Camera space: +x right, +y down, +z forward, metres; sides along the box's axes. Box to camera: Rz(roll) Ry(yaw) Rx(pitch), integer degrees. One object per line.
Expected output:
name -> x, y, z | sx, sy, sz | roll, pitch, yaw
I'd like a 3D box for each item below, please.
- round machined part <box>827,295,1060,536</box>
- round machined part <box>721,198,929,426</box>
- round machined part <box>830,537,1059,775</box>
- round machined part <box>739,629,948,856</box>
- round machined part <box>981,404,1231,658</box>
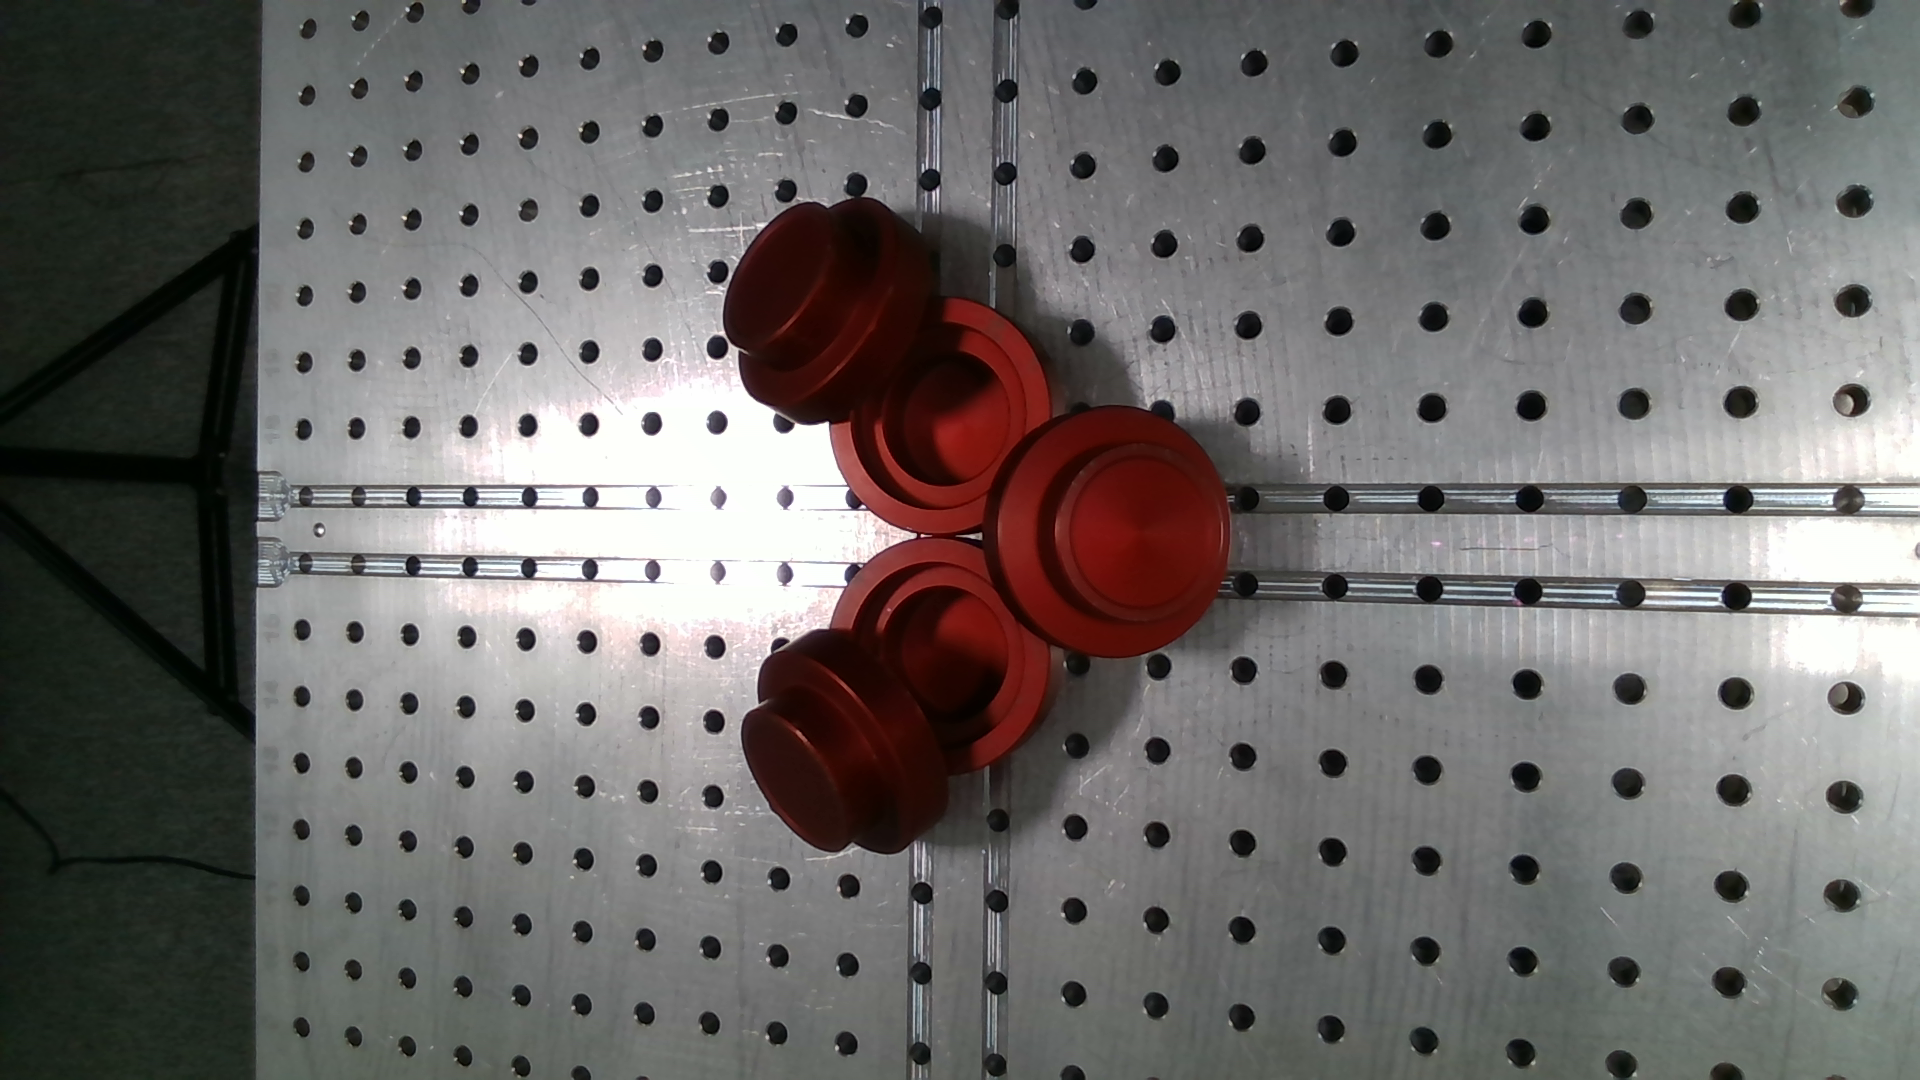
round machined part -> -0.003, -0.051, 0.579 | 0.098, 0.042, 0.098 | 0, 91, 20
round machined part -> -0.062, -0.101, 0.576 | 0.098, 0.042, 0.098 | -25, 51, 36
round machined part -> -0.004, 0.048, 0.581 | 0.098, 0.042, 0.098 | 0, 91, 20
round machined part -> -0.054, 0.090, 0.571 | 0.098, 0.042, 0.098 | 30, 135, 34
round machined part -> 0.061, -0.003, 0.529 | 0.098, 0.042, 0.098 | 0, 91, -18
